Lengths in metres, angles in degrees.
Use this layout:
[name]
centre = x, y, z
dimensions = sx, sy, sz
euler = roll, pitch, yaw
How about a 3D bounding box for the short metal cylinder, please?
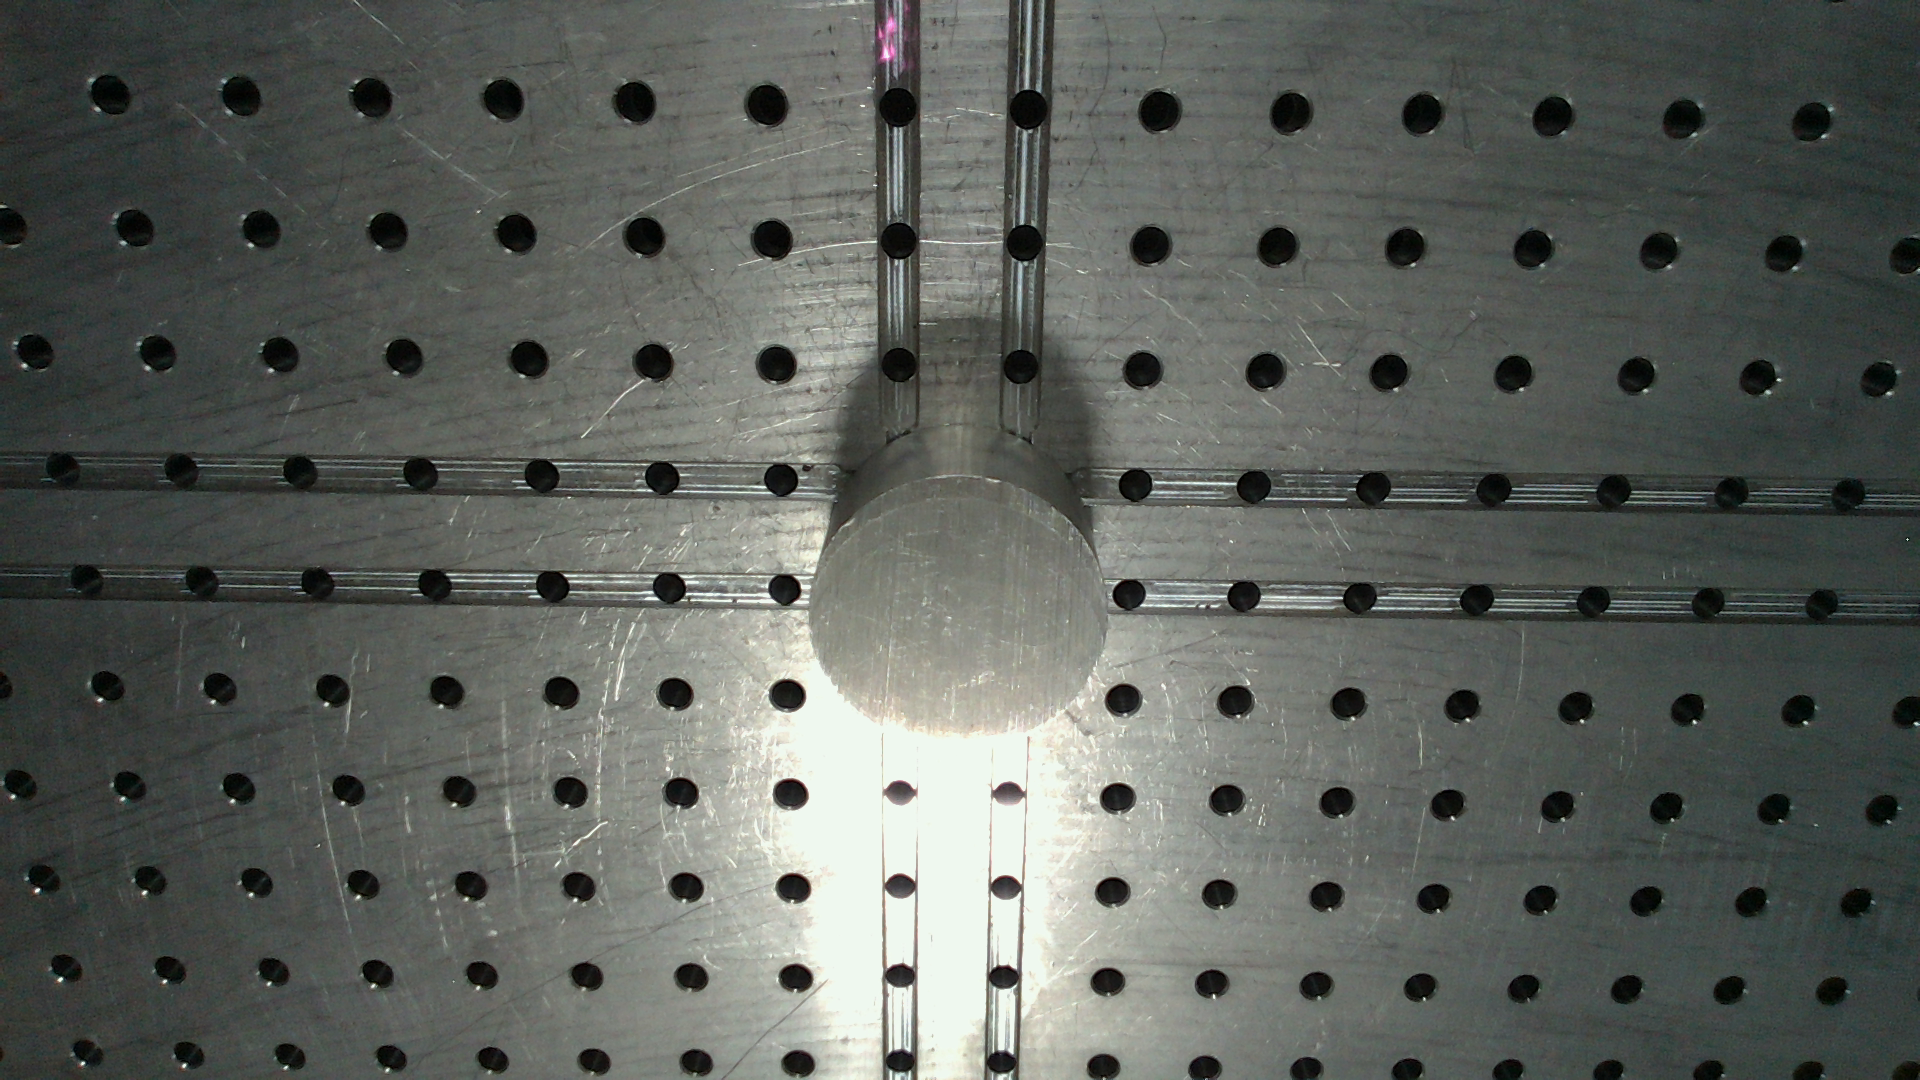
[short metal cylinder]
centre = 0.000, 0.012, 0.387
dimensions = 0.080, 0.050, 0.080
euler = 0, 110, 0
